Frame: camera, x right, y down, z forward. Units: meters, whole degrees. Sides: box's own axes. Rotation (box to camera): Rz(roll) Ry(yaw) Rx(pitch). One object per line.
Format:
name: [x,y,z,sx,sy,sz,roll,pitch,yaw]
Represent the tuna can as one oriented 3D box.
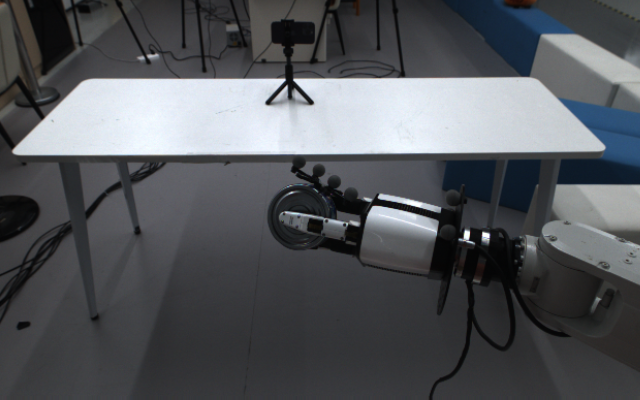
tuna can: [-0.020,0.027,0.618,0.085,0.085,0.034,13,5,15]
